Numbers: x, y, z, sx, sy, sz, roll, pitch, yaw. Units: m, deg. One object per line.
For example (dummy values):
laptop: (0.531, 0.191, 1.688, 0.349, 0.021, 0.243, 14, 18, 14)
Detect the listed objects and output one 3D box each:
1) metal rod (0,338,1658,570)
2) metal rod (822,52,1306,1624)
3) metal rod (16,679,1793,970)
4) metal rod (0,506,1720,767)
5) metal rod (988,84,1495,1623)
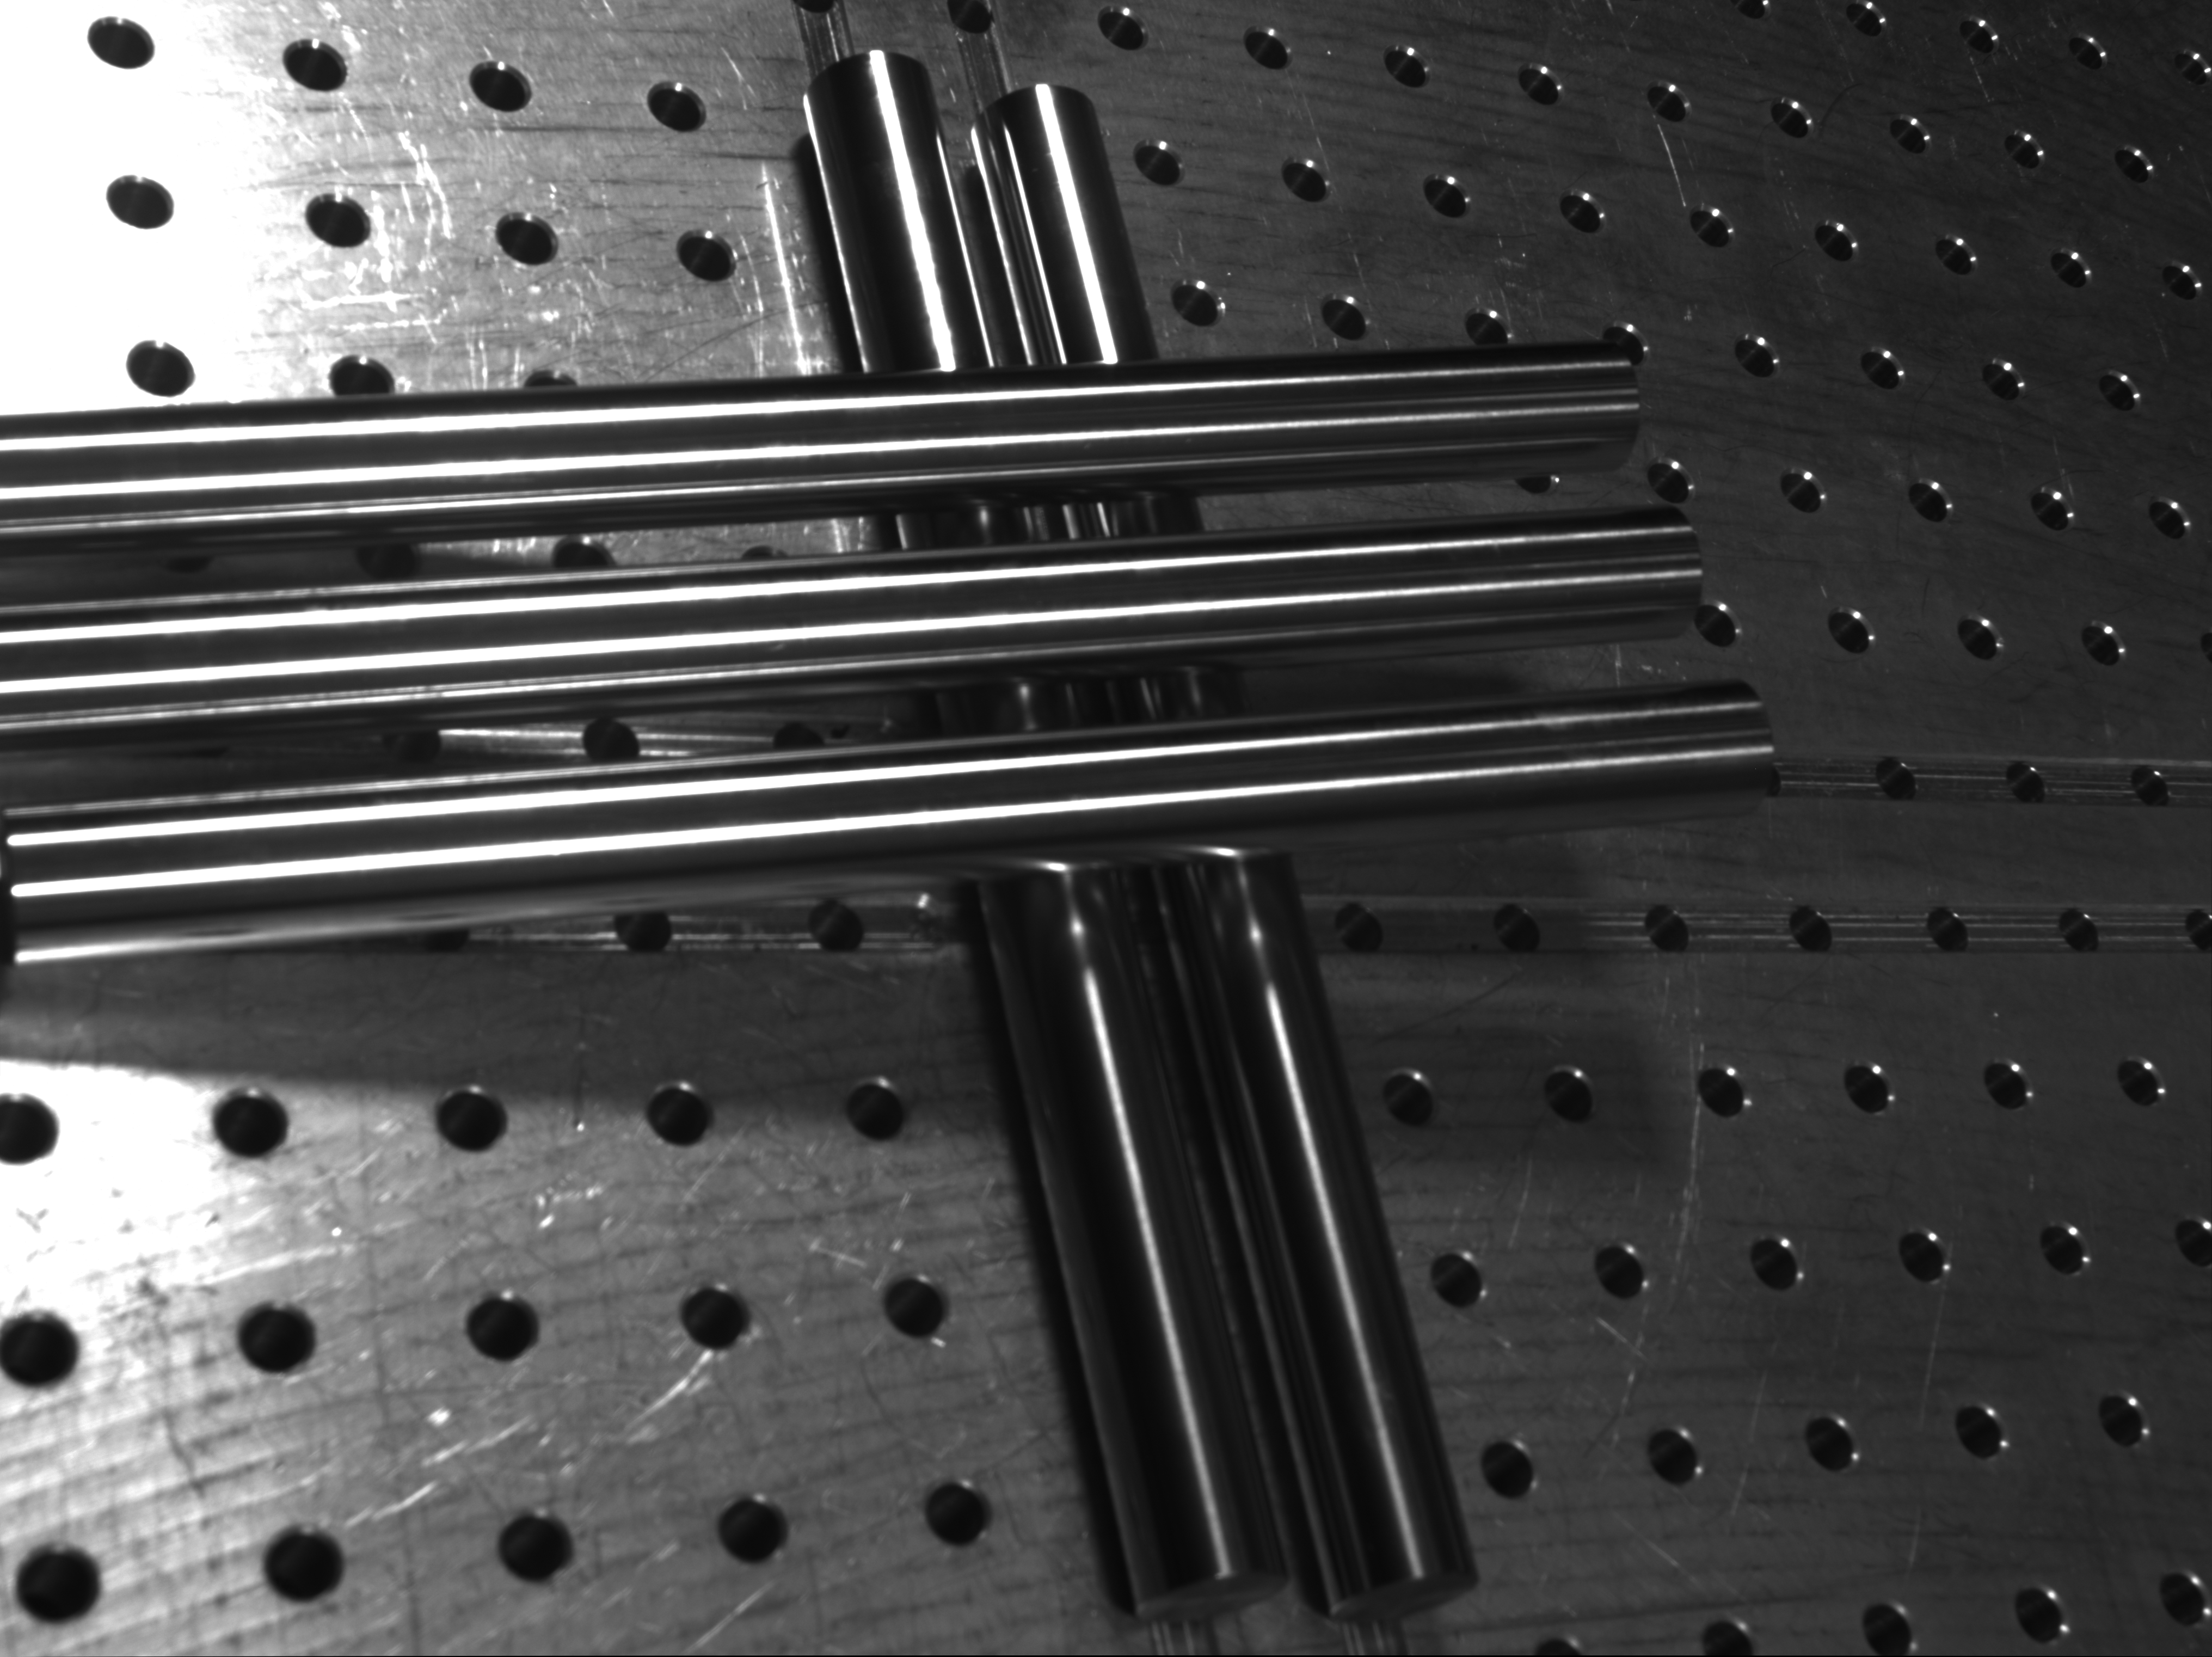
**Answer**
metal rod: (-0.041, -0.066, 0.635, 0.301, 0.025, 0.025, -6, 64, -22)
metal rod: (-0.012, -0.010, 0.643, 0.025, 0.025, 0.300, 1, 61, -28)
metal rod: (-0.023, -0.003, 0.605, 0.301, 0.025, 0.025, -5, 64, -21)
metal rod: (-0.033, -0.034, 0.620, 0.301, 0.025, 0.025, -5, 64, -21)
metal rod: (0.020, -0.007, 0.658, 0.025, 0.025, 0.300, 1, 61, -28)
